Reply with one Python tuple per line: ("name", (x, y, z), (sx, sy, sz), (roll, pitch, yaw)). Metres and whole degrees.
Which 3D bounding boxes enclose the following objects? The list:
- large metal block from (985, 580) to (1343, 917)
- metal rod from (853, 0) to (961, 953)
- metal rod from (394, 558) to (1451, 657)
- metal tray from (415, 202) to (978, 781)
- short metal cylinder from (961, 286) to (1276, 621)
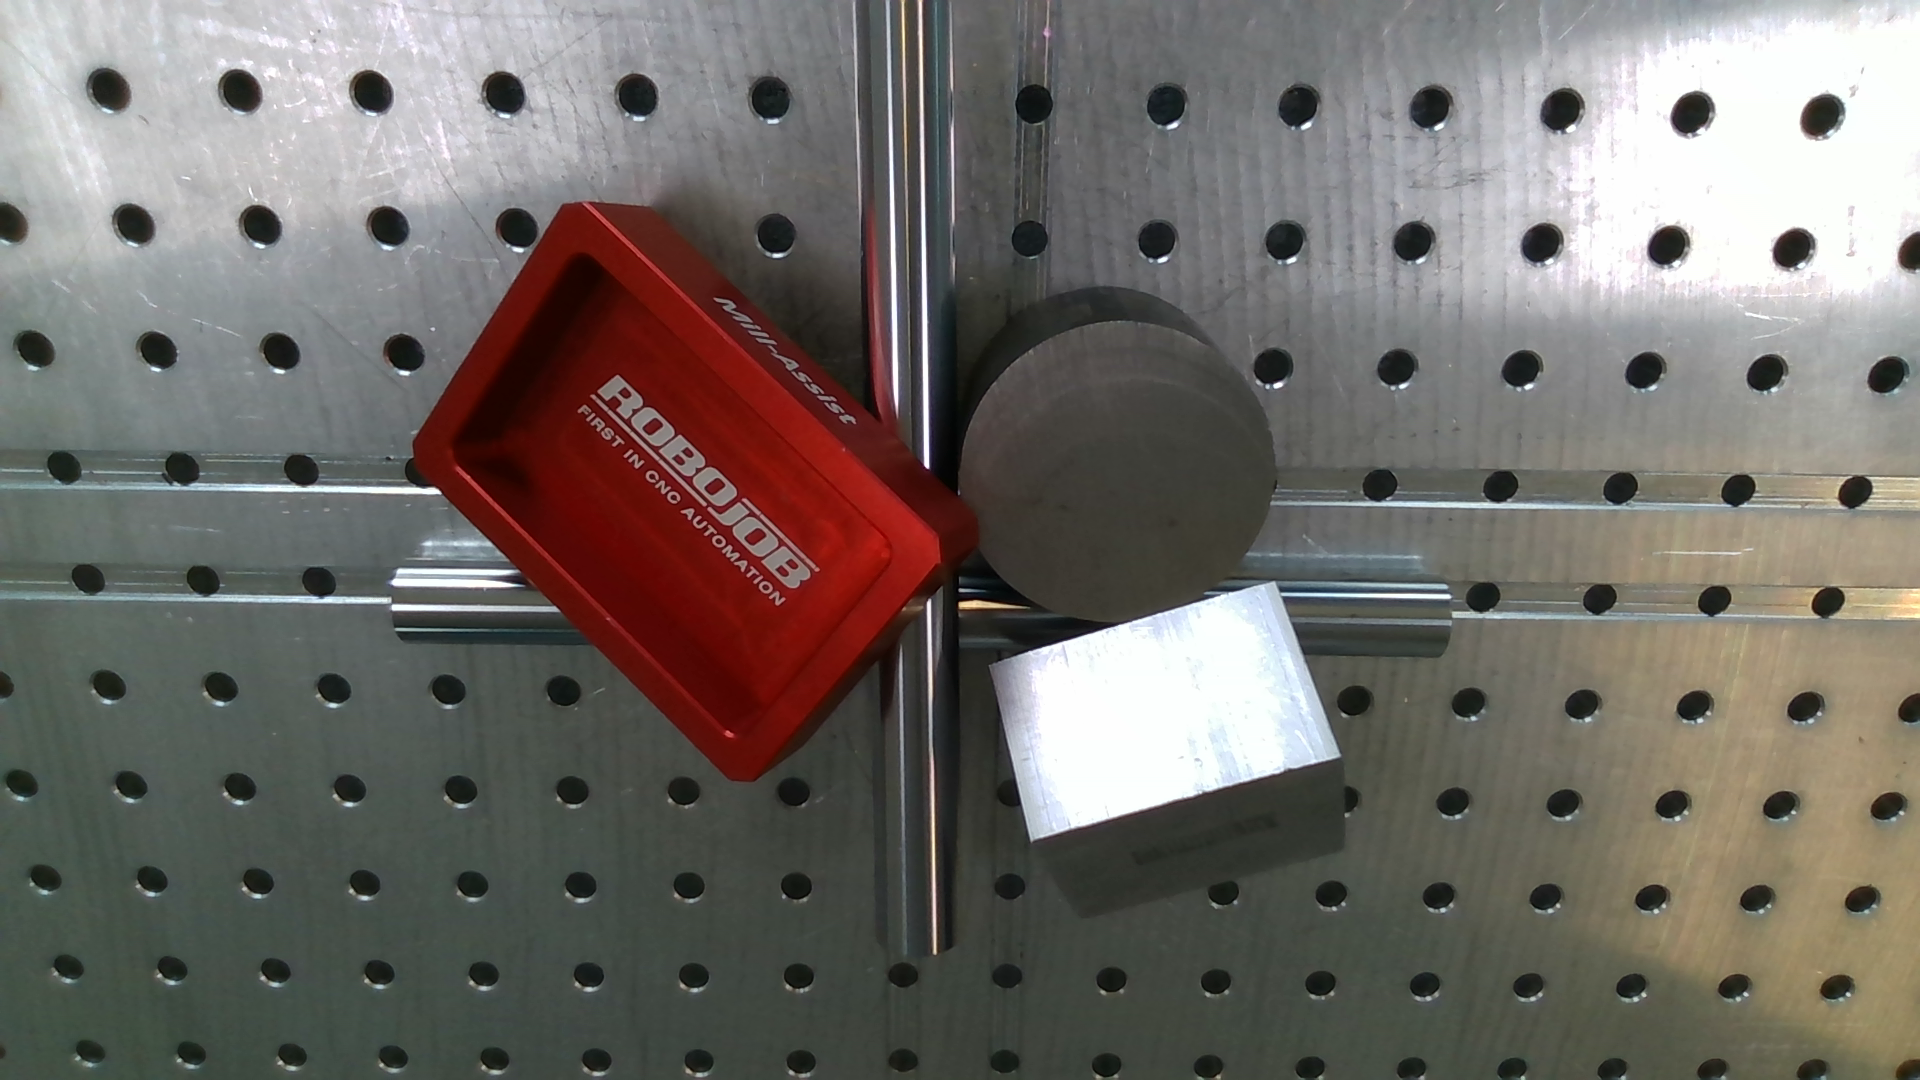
("large metal block", (0.059, 0.062, 0.384), (0.080, 0.050, 0.080), (-17, 149, 6))
("metal rod", (-0.013, -0.032, 0.366), (0.025, 0.025, 0.300), (0, 103, 0))
("metal rod", (-0.011, 0.020, 0.403), (0.300, 0.025, 0.025), (1, 110, 0))
("metal tray", (-0.071, -0.013, 0.361), (0.130, 0.030, 0.090), (43, 112, 7))
("short metal cylinder", (0.040, -0.025, 0.373), (0.080, 0.050, 0.080), (0, 110, 0))
